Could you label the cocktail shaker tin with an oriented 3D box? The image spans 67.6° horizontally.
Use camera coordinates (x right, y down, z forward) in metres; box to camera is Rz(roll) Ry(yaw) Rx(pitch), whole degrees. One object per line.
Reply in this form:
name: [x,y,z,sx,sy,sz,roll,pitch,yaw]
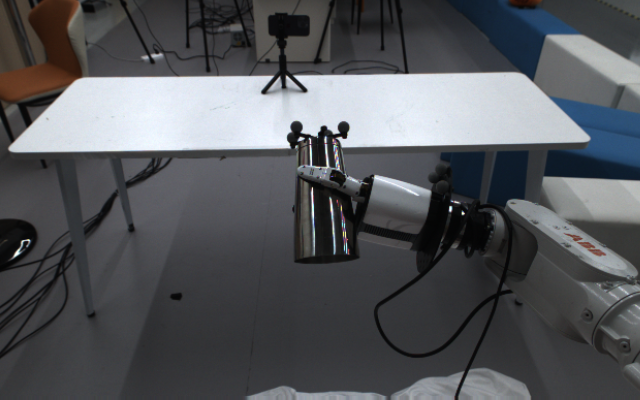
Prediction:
cocktail shaker tin: [0.005,0.001,0.690,0.093,0.093,0.170,-3,76,-8]
